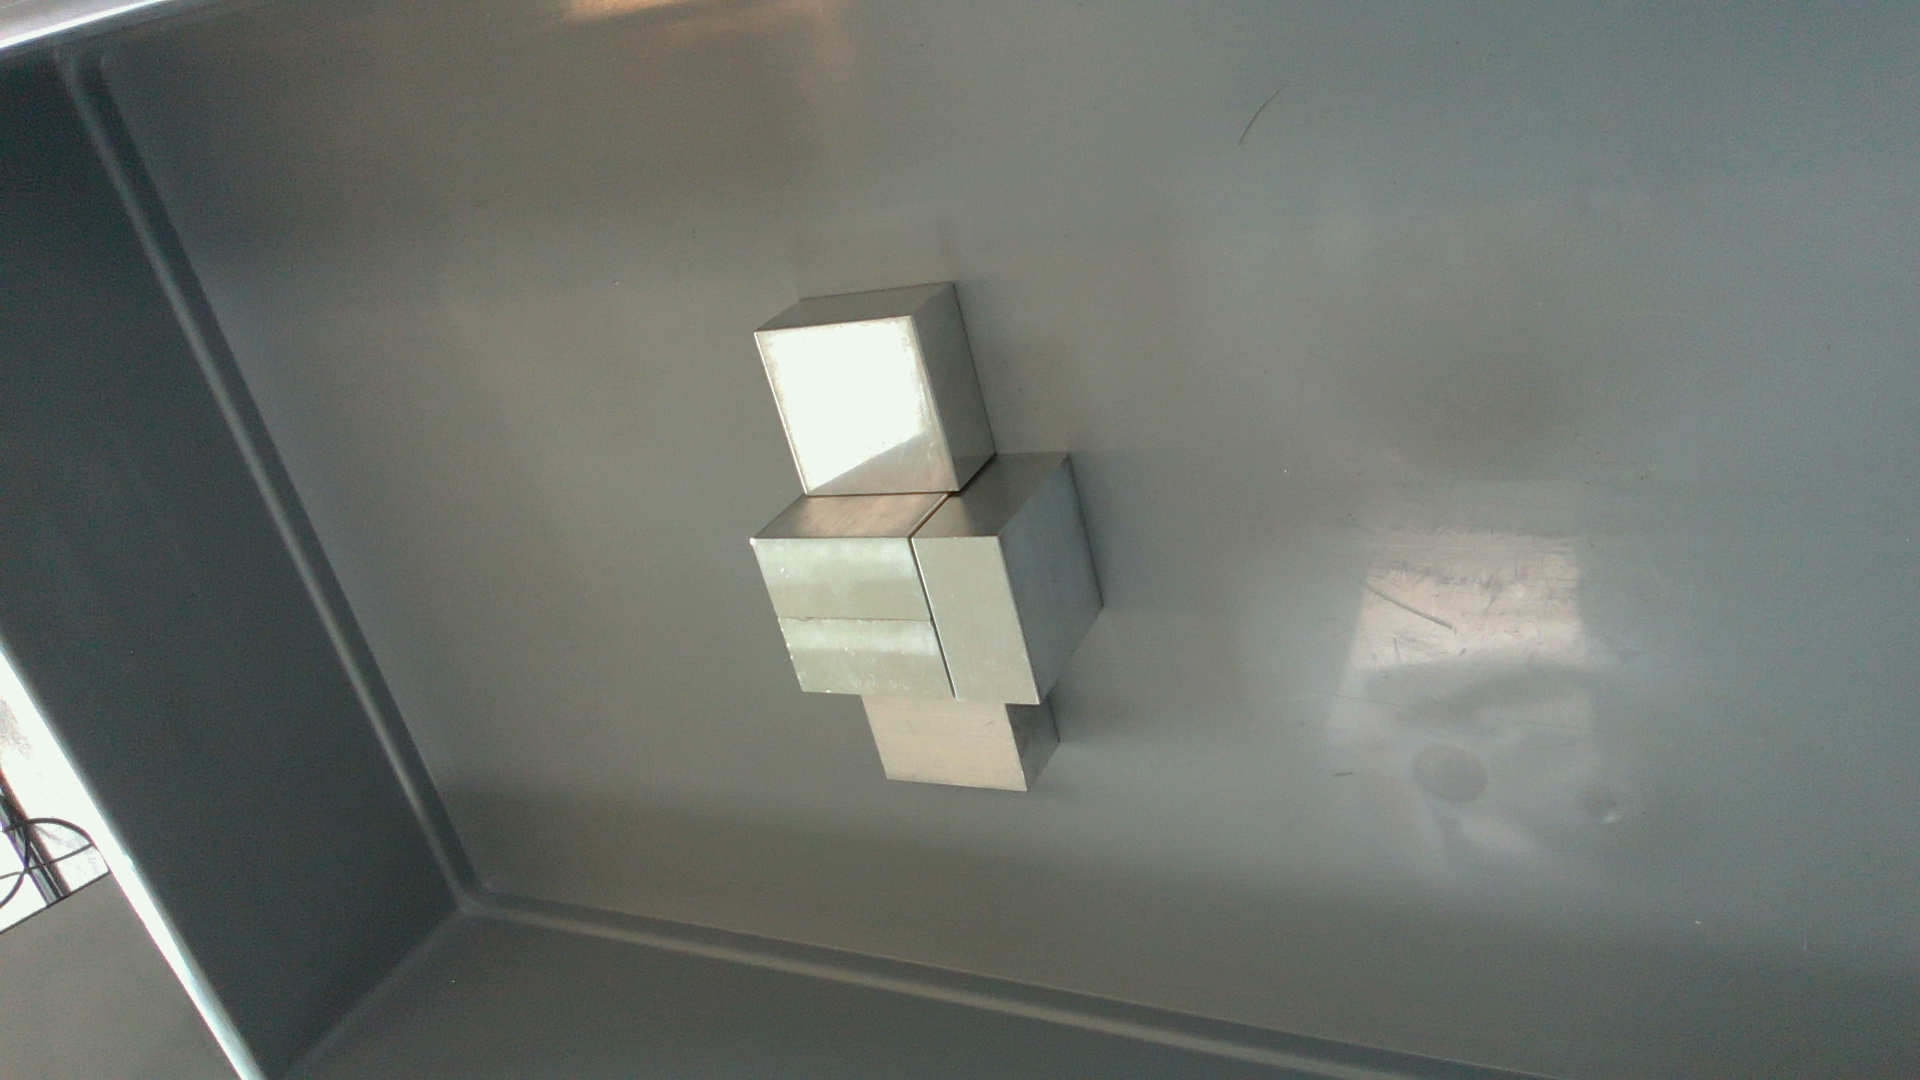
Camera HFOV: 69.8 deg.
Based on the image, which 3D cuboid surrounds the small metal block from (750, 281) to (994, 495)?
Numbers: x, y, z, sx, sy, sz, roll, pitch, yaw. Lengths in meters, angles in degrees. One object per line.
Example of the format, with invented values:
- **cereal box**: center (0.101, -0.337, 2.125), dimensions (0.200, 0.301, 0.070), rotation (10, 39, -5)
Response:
- **small metal block**: center (-0.023, -0.041, 0.378), dimensions (0.050, 0.025, 0.050), rotation (0, 118, 28)

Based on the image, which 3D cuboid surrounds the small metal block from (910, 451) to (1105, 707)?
- **small metal block**: center (0.015, 0.010, 0.373), dimensions (0.025, 0.050, 0.050), rotation (0, 118, 29)

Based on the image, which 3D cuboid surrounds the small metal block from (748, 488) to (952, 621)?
- **small metal block**: center (-0.022, -0.002, 0.386), dimensions (0.050, 0.050, 0.025), rotation (0, 118, 28)

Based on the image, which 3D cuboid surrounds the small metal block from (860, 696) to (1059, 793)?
- **small metal block**: center (-0.002, 0.048, 0.422), dimensions (0.050, 0.025, 0.050), rotation (0, 118, 28)

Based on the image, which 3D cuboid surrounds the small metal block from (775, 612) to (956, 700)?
- **small metal block**: center (-0.016, 0.020, 0.396), dimensions (0.050, 0.050, 0.025), rotation (0, 118, 28)
